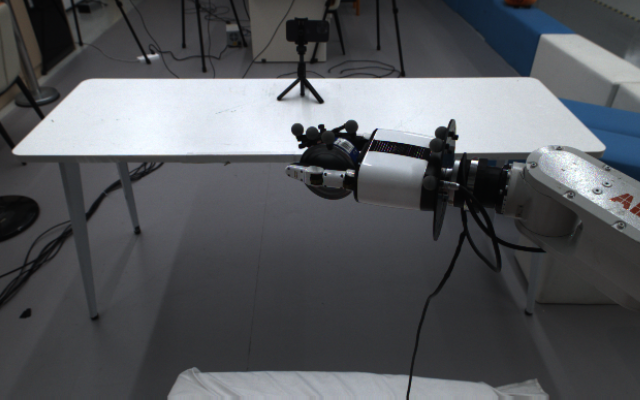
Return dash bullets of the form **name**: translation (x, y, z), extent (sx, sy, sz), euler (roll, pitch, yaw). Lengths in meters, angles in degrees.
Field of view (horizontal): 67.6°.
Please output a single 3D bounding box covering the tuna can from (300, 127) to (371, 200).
- **tuna can**: translation (0.018, -0.045, 0.676), extent (0.085, 0.085, 0.034), euler (14, 34, 17)
